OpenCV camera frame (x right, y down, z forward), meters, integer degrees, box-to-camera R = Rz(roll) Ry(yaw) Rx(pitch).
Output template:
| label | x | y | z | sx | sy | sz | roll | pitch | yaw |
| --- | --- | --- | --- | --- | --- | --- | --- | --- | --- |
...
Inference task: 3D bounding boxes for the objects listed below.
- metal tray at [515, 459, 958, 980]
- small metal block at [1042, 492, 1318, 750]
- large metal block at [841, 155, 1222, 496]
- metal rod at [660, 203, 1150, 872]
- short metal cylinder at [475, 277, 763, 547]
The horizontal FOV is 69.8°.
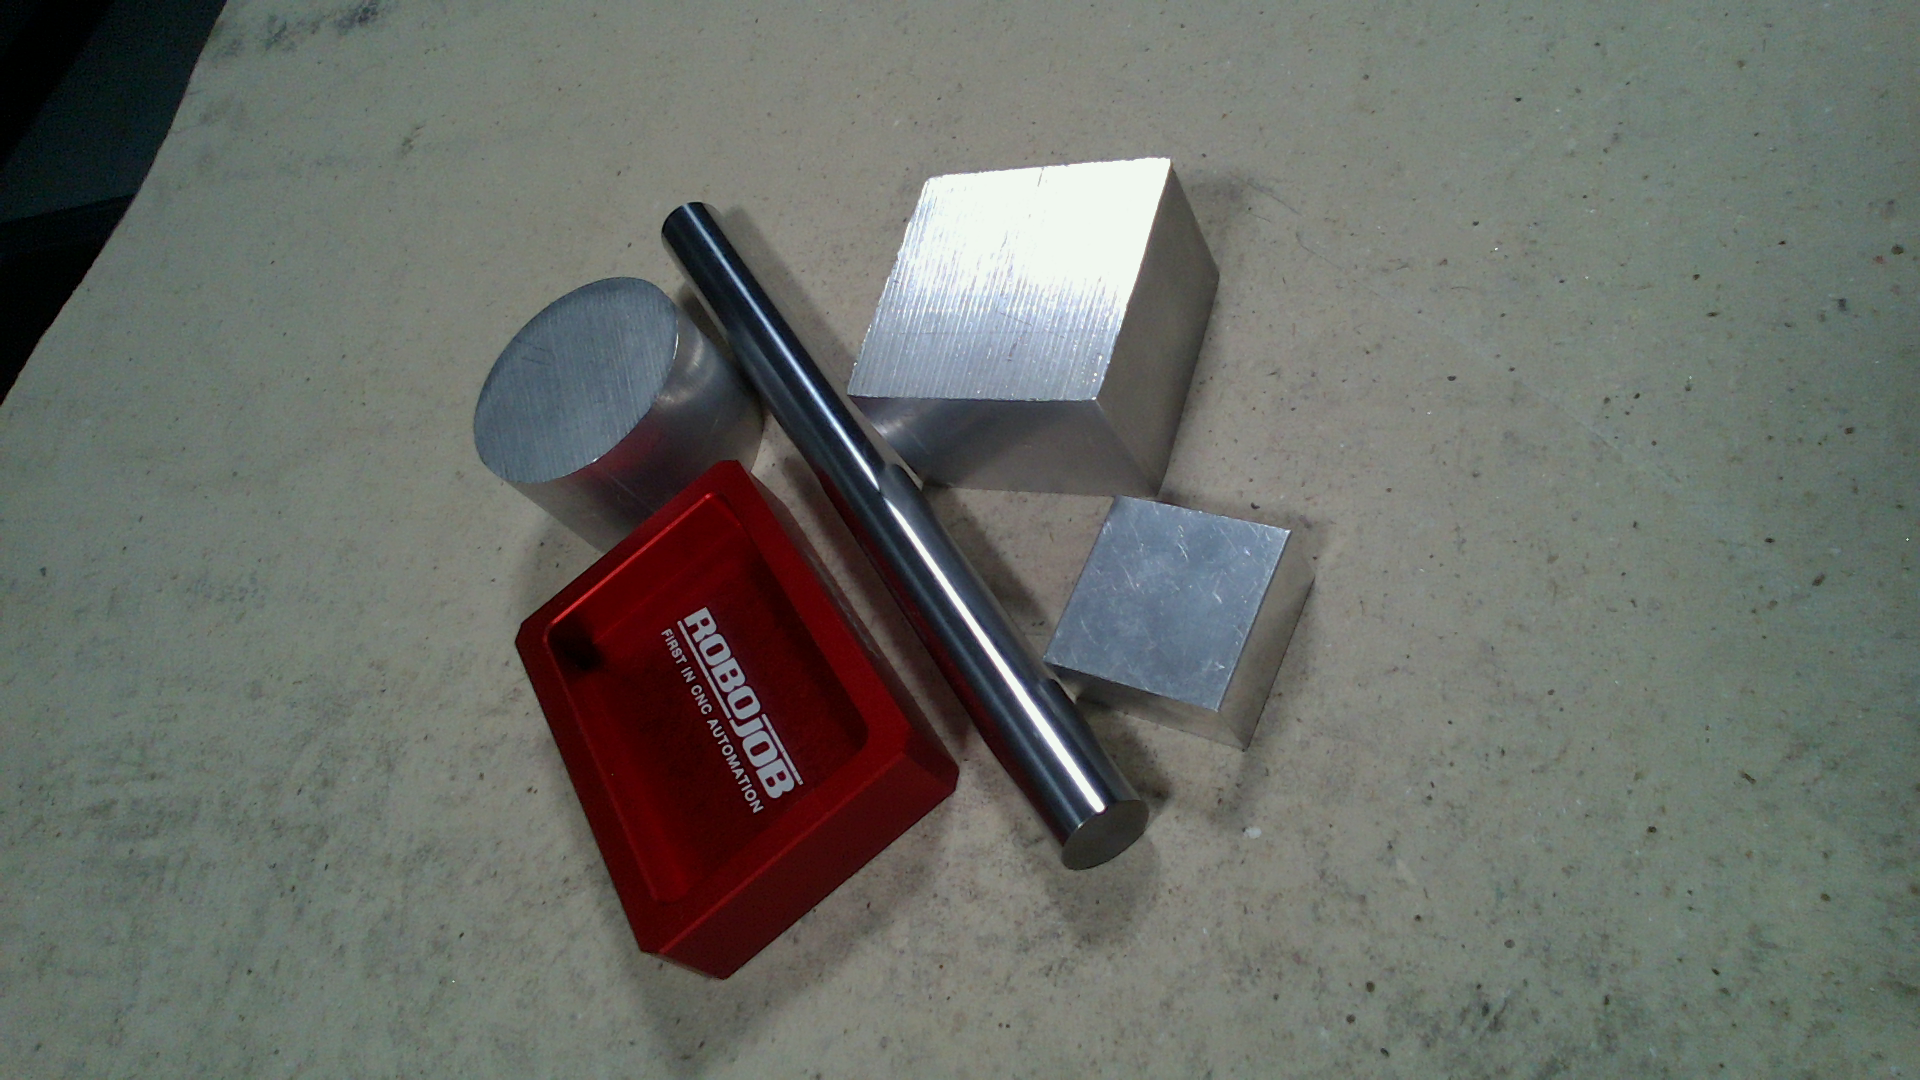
| label | x | y | z | sx | sy | sz | roll | pitch | yaw |
| --- | --- | --- | --- | --- | --- | --- | --- | --- | --- |
| metal tray | -0.070 | 0.047 | 0.400 | 0.090 | 0.030 | 0.130 | -39 | 51 | 2 |
| small metal block | 0.057 | 0.020 | 0.352 | 0.050 | 0.025 | 0.050 | 14 | 69 | 34 |
| large metal block | 0.023 | -0.062 | 0.403 | 0.080 | 0.050 | 0.080 | 4 | 64 | 30 |
| metal rod | -0.033 | -0.022 | 0.425 | 0.025 | 0.025 | 0.299 | -38 | 51 | 3 |
| short metal cylinder | -0.114 | -0.041 | 0.465 | 0.080 | 0.050 | 0.080 | -14 | 56 | 21 |
